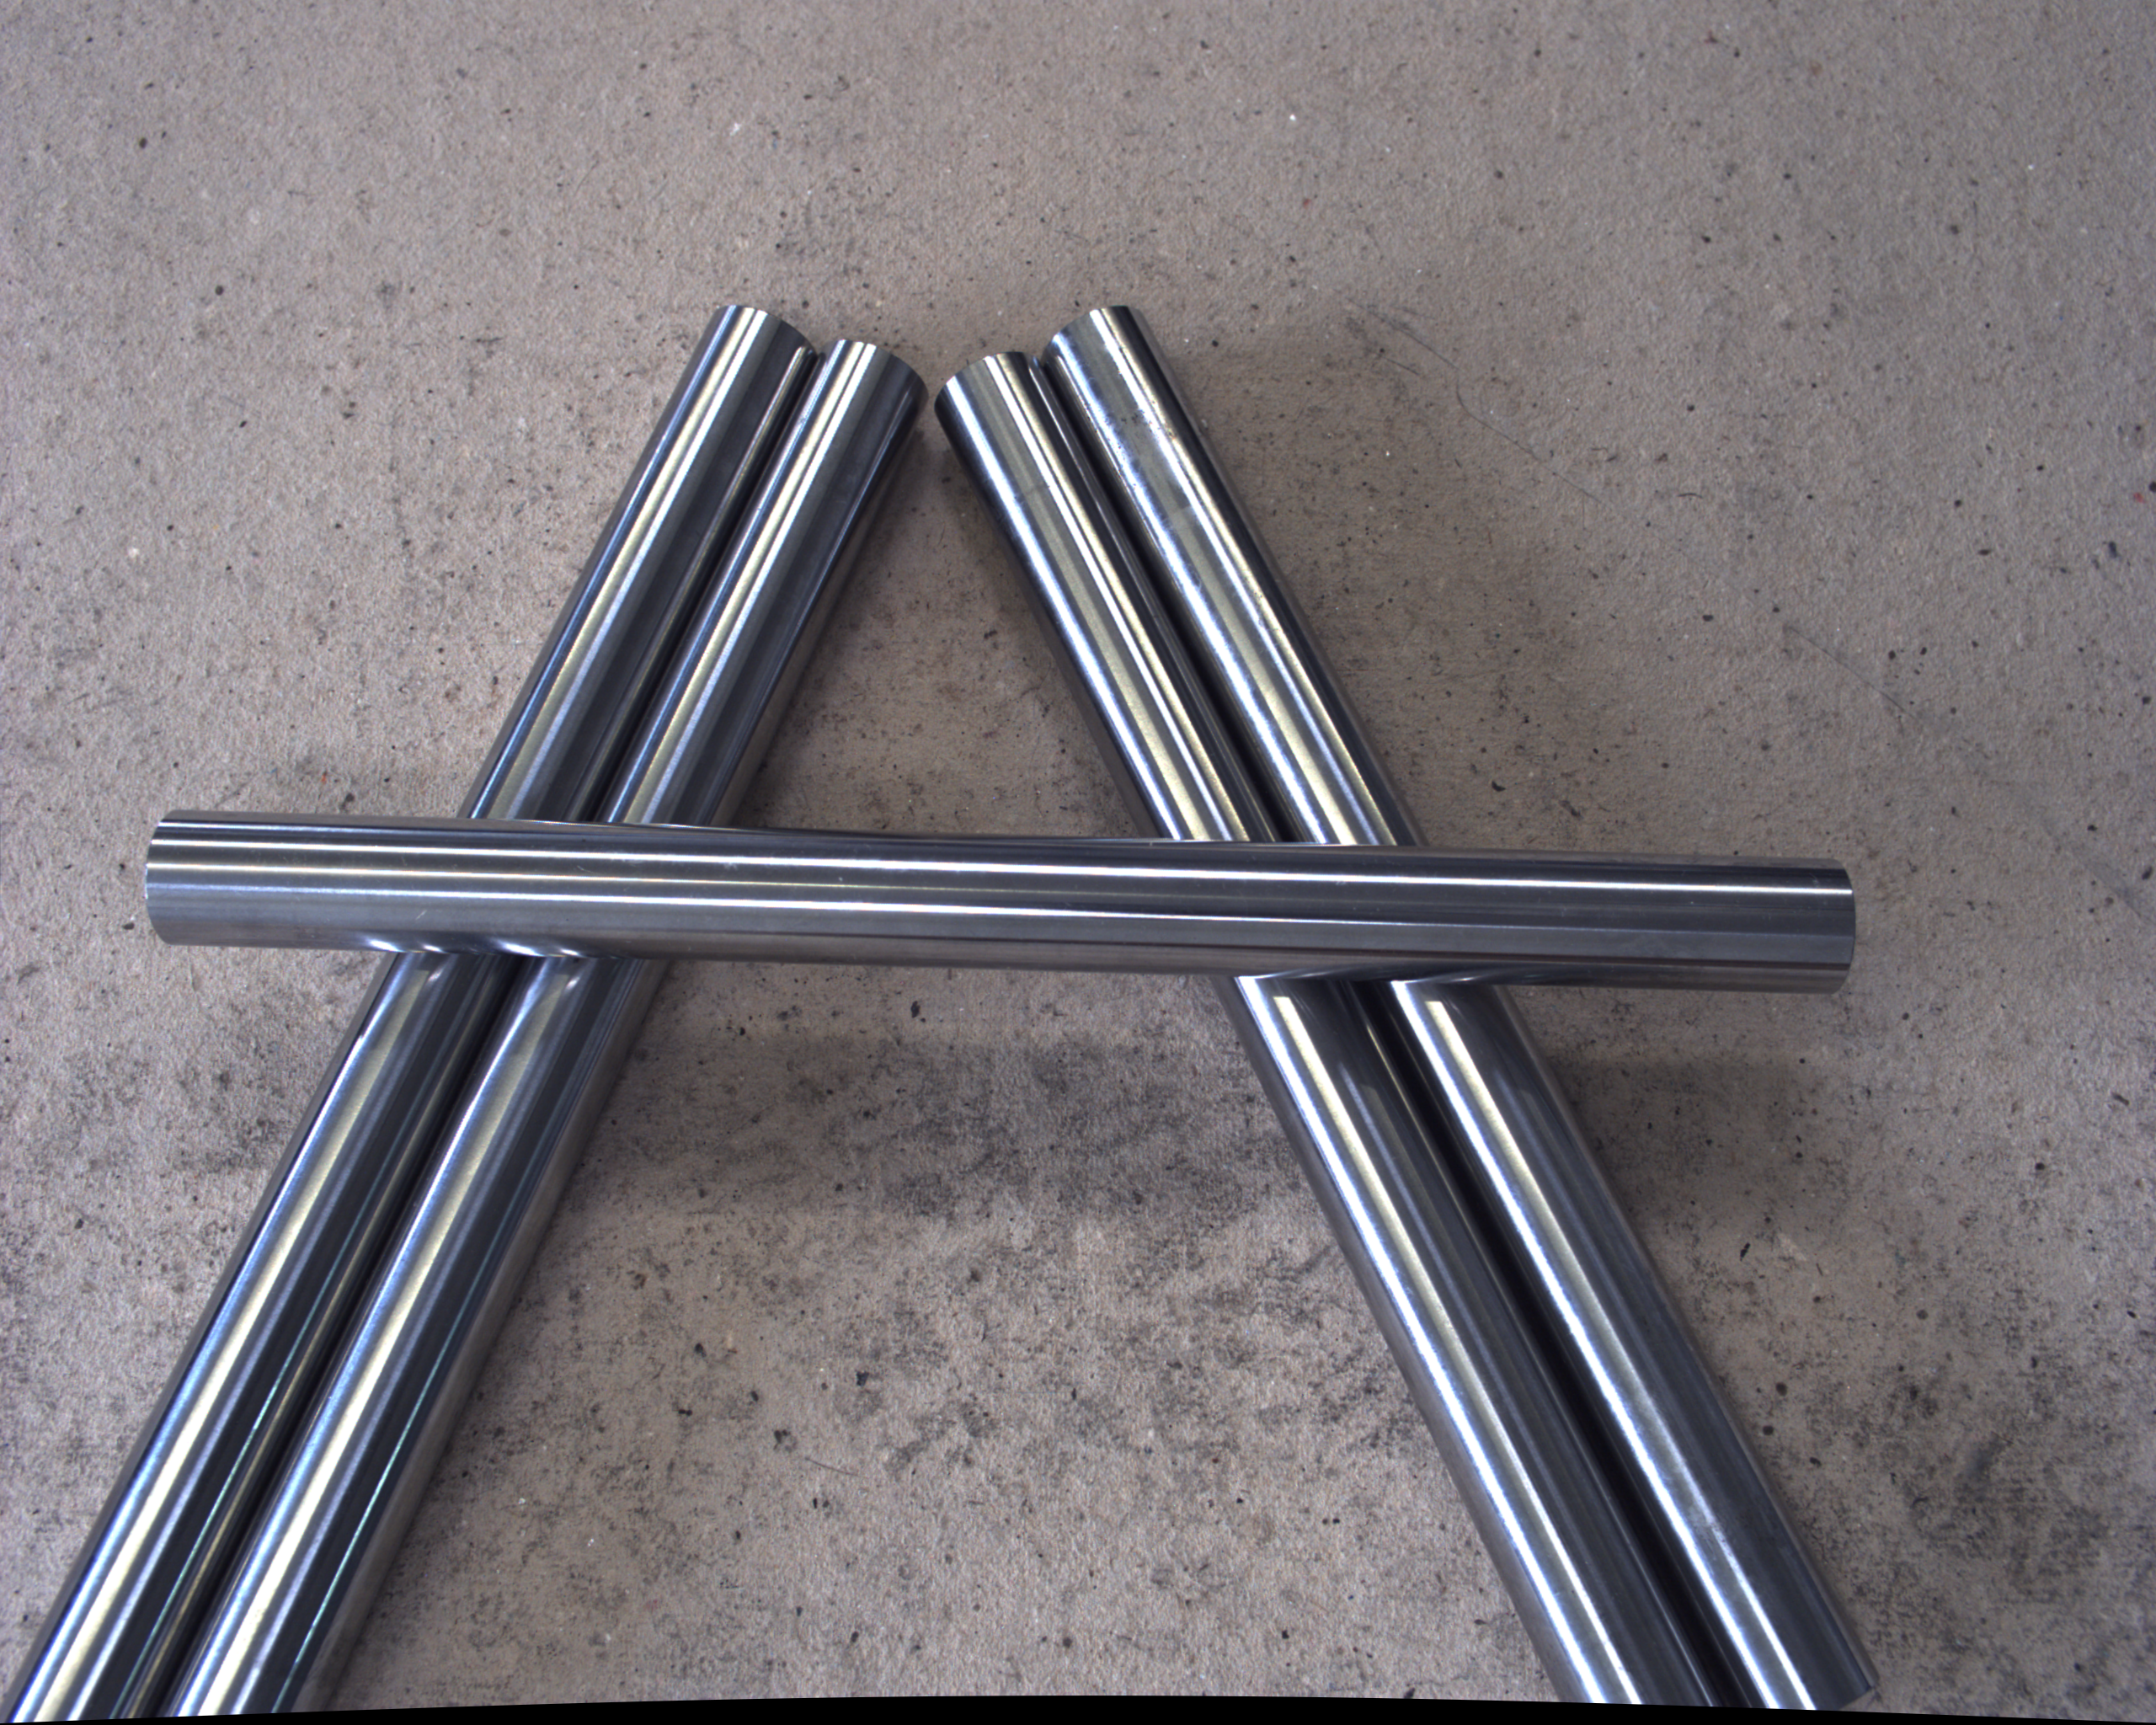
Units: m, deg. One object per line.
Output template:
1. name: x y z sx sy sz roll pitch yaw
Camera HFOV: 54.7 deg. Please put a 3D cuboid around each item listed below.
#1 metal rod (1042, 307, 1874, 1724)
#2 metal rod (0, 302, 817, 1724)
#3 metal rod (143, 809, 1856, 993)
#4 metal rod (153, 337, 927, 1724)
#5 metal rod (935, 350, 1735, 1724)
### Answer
1. metal rod: 0.064 0.017 0.404 0.025 0.025 0.299 -23 72 -8
2. metal rod: -0.120 0.019 0.401 0.025 0.025 0.300 19 71 7
3. metal rod: -0.014 0.007 0.380 0.302 0.025 0.025 2 70 0
4. metal rod: -0.096 0.027 0.398 0.025 0.025 0.300 19 71 7
5. metal rod: 0.042 0.027 0.400 0.025 0.025 0.299 -23 72 -8
